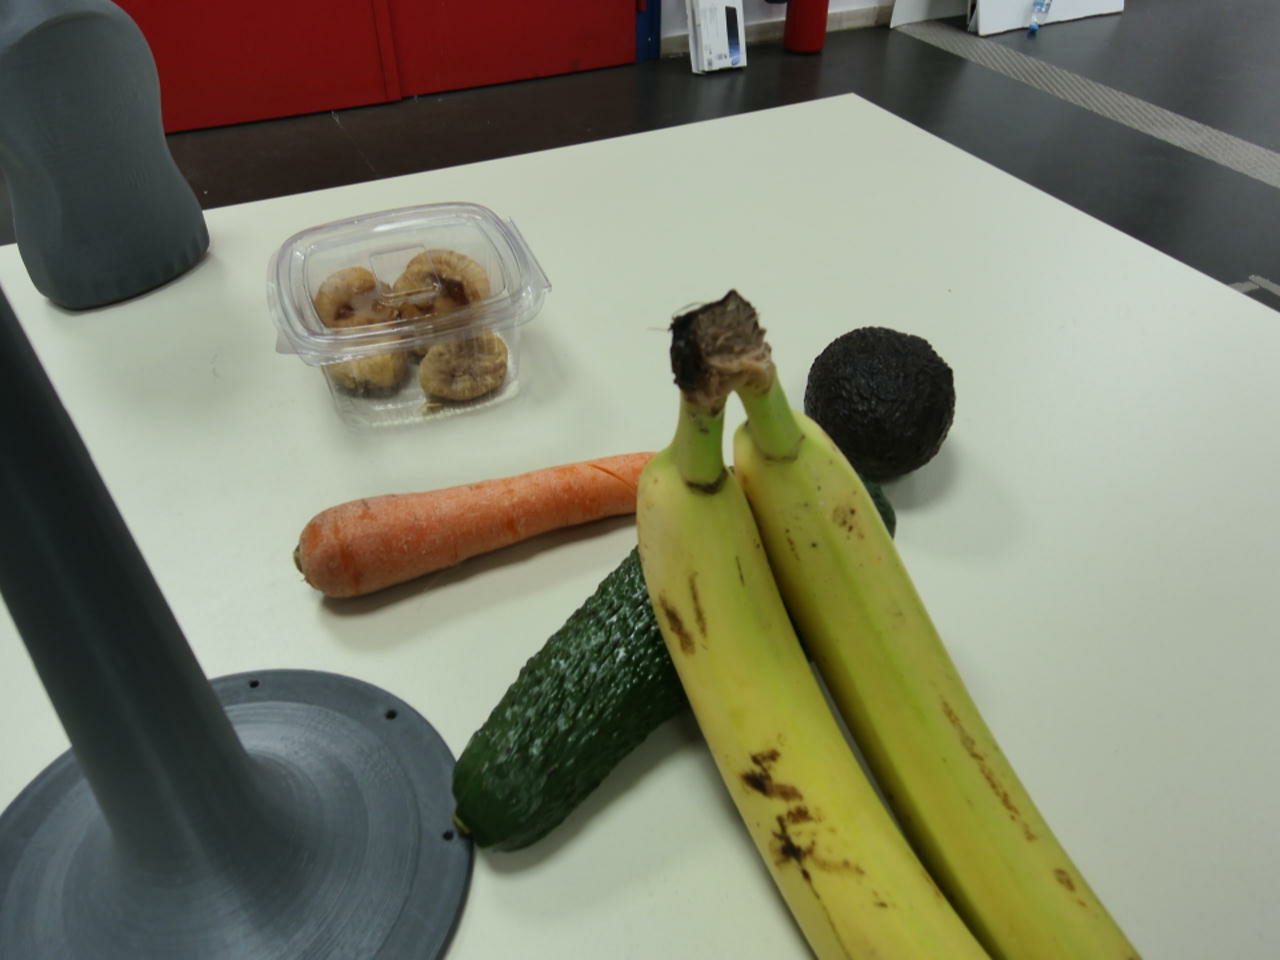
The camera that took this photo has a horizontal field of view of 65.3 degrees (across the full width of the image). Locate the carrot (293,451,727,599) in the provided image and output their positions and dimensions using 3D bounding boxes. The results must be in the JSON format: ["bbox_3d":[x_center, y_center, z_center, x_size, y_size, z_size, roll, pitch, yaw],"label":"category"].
[{"bbox_3d":[-0.048,0.008,0.434,0.196,0.041,0.039,-17,41,-21],"label":"carrot"}]
